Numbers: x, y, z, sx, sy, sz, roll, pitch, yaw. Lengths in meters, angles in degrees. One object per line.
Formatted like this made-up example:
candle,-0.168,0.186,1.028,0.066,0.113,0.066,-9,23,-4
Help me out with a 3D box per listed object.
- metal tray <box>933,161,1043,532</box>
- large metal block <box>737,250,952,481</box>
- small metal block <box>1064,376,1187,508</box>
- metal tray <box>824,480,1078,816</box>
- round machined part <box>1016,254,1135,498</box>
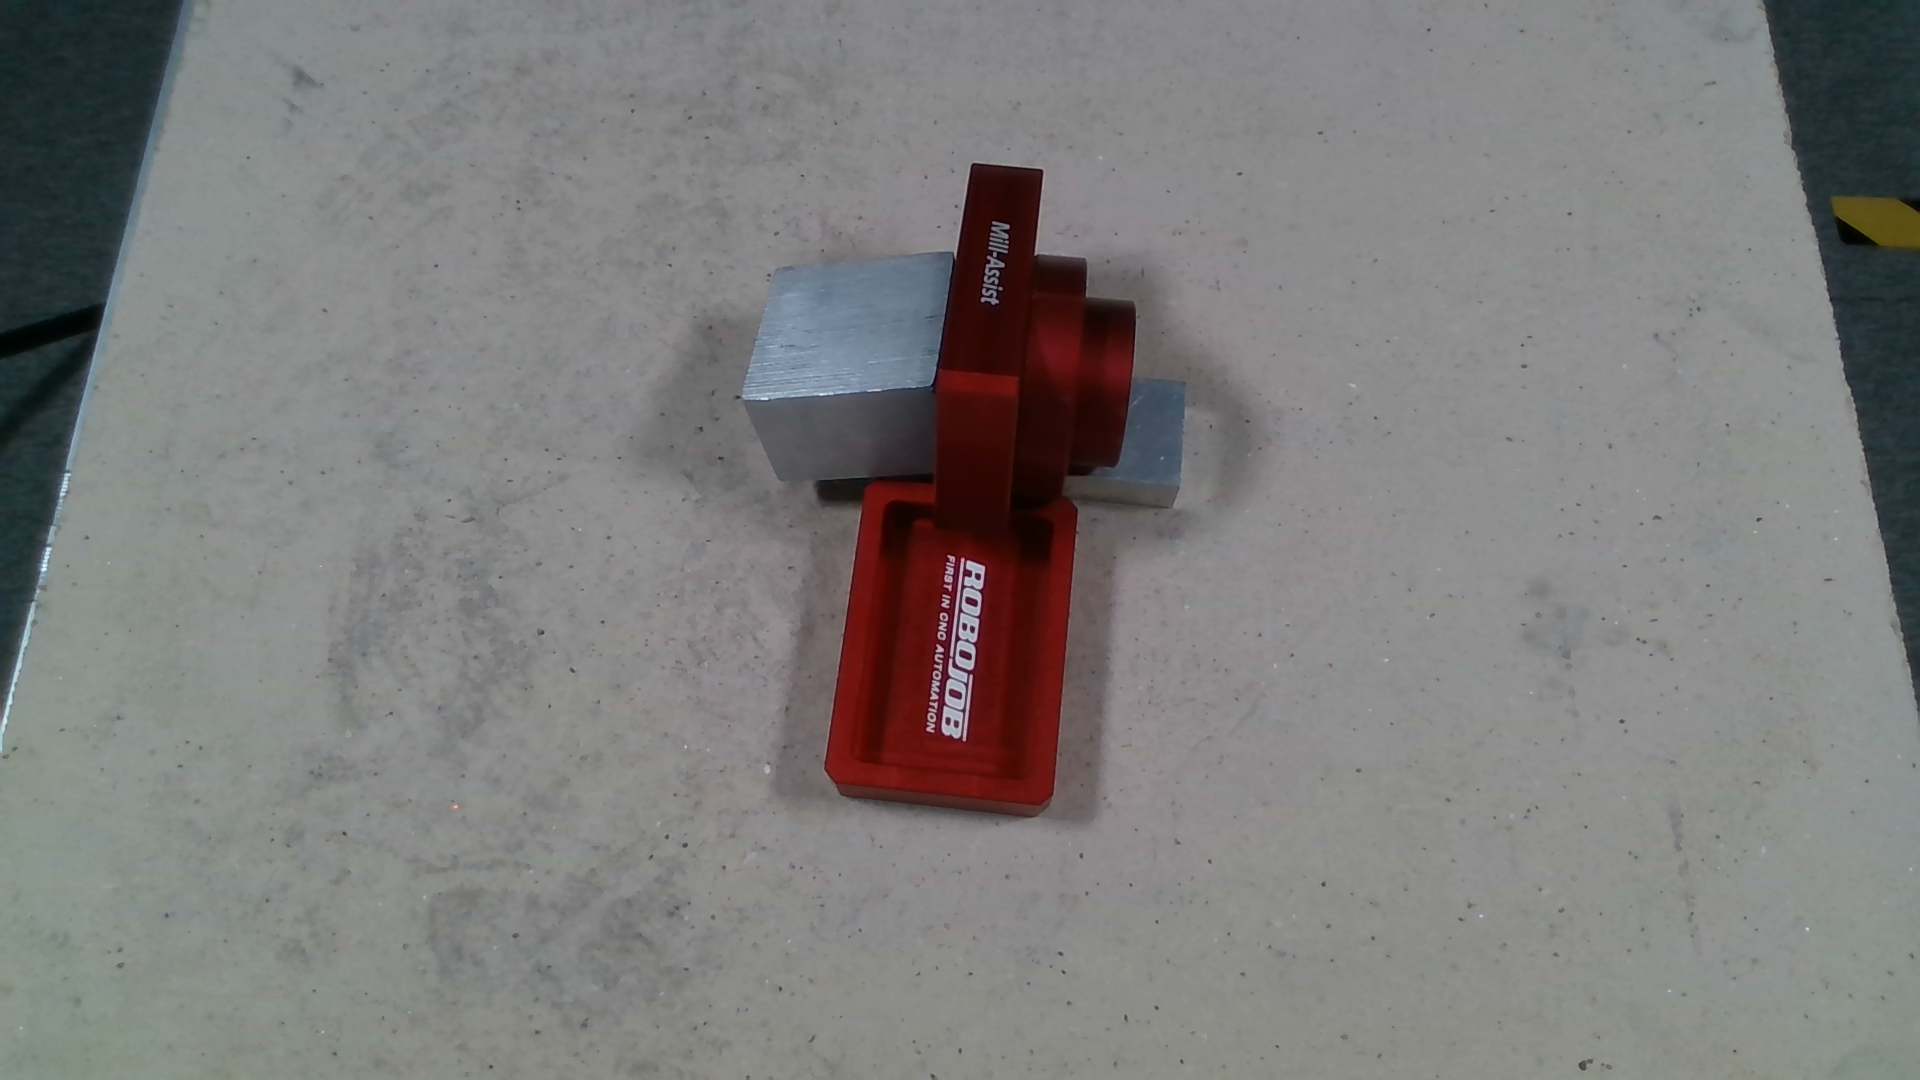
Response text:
metal tray,0.012,-0.080,0.564,0.030,0.090,0.130,6,52,3
large metal block,-0.041,-0.073,0.581,0.080,0.050,0.080,-3,51,12
small metal block,0.071,-0.044,0.605,0.050,0.025,0.050,6,70,2
metal tray,-0.002,0.043,0.570,0.090,0.030,0.130,6,70,2
round machined part,0.046,-0.066,0.562,0.042,0.098,0.098,6,70,2
